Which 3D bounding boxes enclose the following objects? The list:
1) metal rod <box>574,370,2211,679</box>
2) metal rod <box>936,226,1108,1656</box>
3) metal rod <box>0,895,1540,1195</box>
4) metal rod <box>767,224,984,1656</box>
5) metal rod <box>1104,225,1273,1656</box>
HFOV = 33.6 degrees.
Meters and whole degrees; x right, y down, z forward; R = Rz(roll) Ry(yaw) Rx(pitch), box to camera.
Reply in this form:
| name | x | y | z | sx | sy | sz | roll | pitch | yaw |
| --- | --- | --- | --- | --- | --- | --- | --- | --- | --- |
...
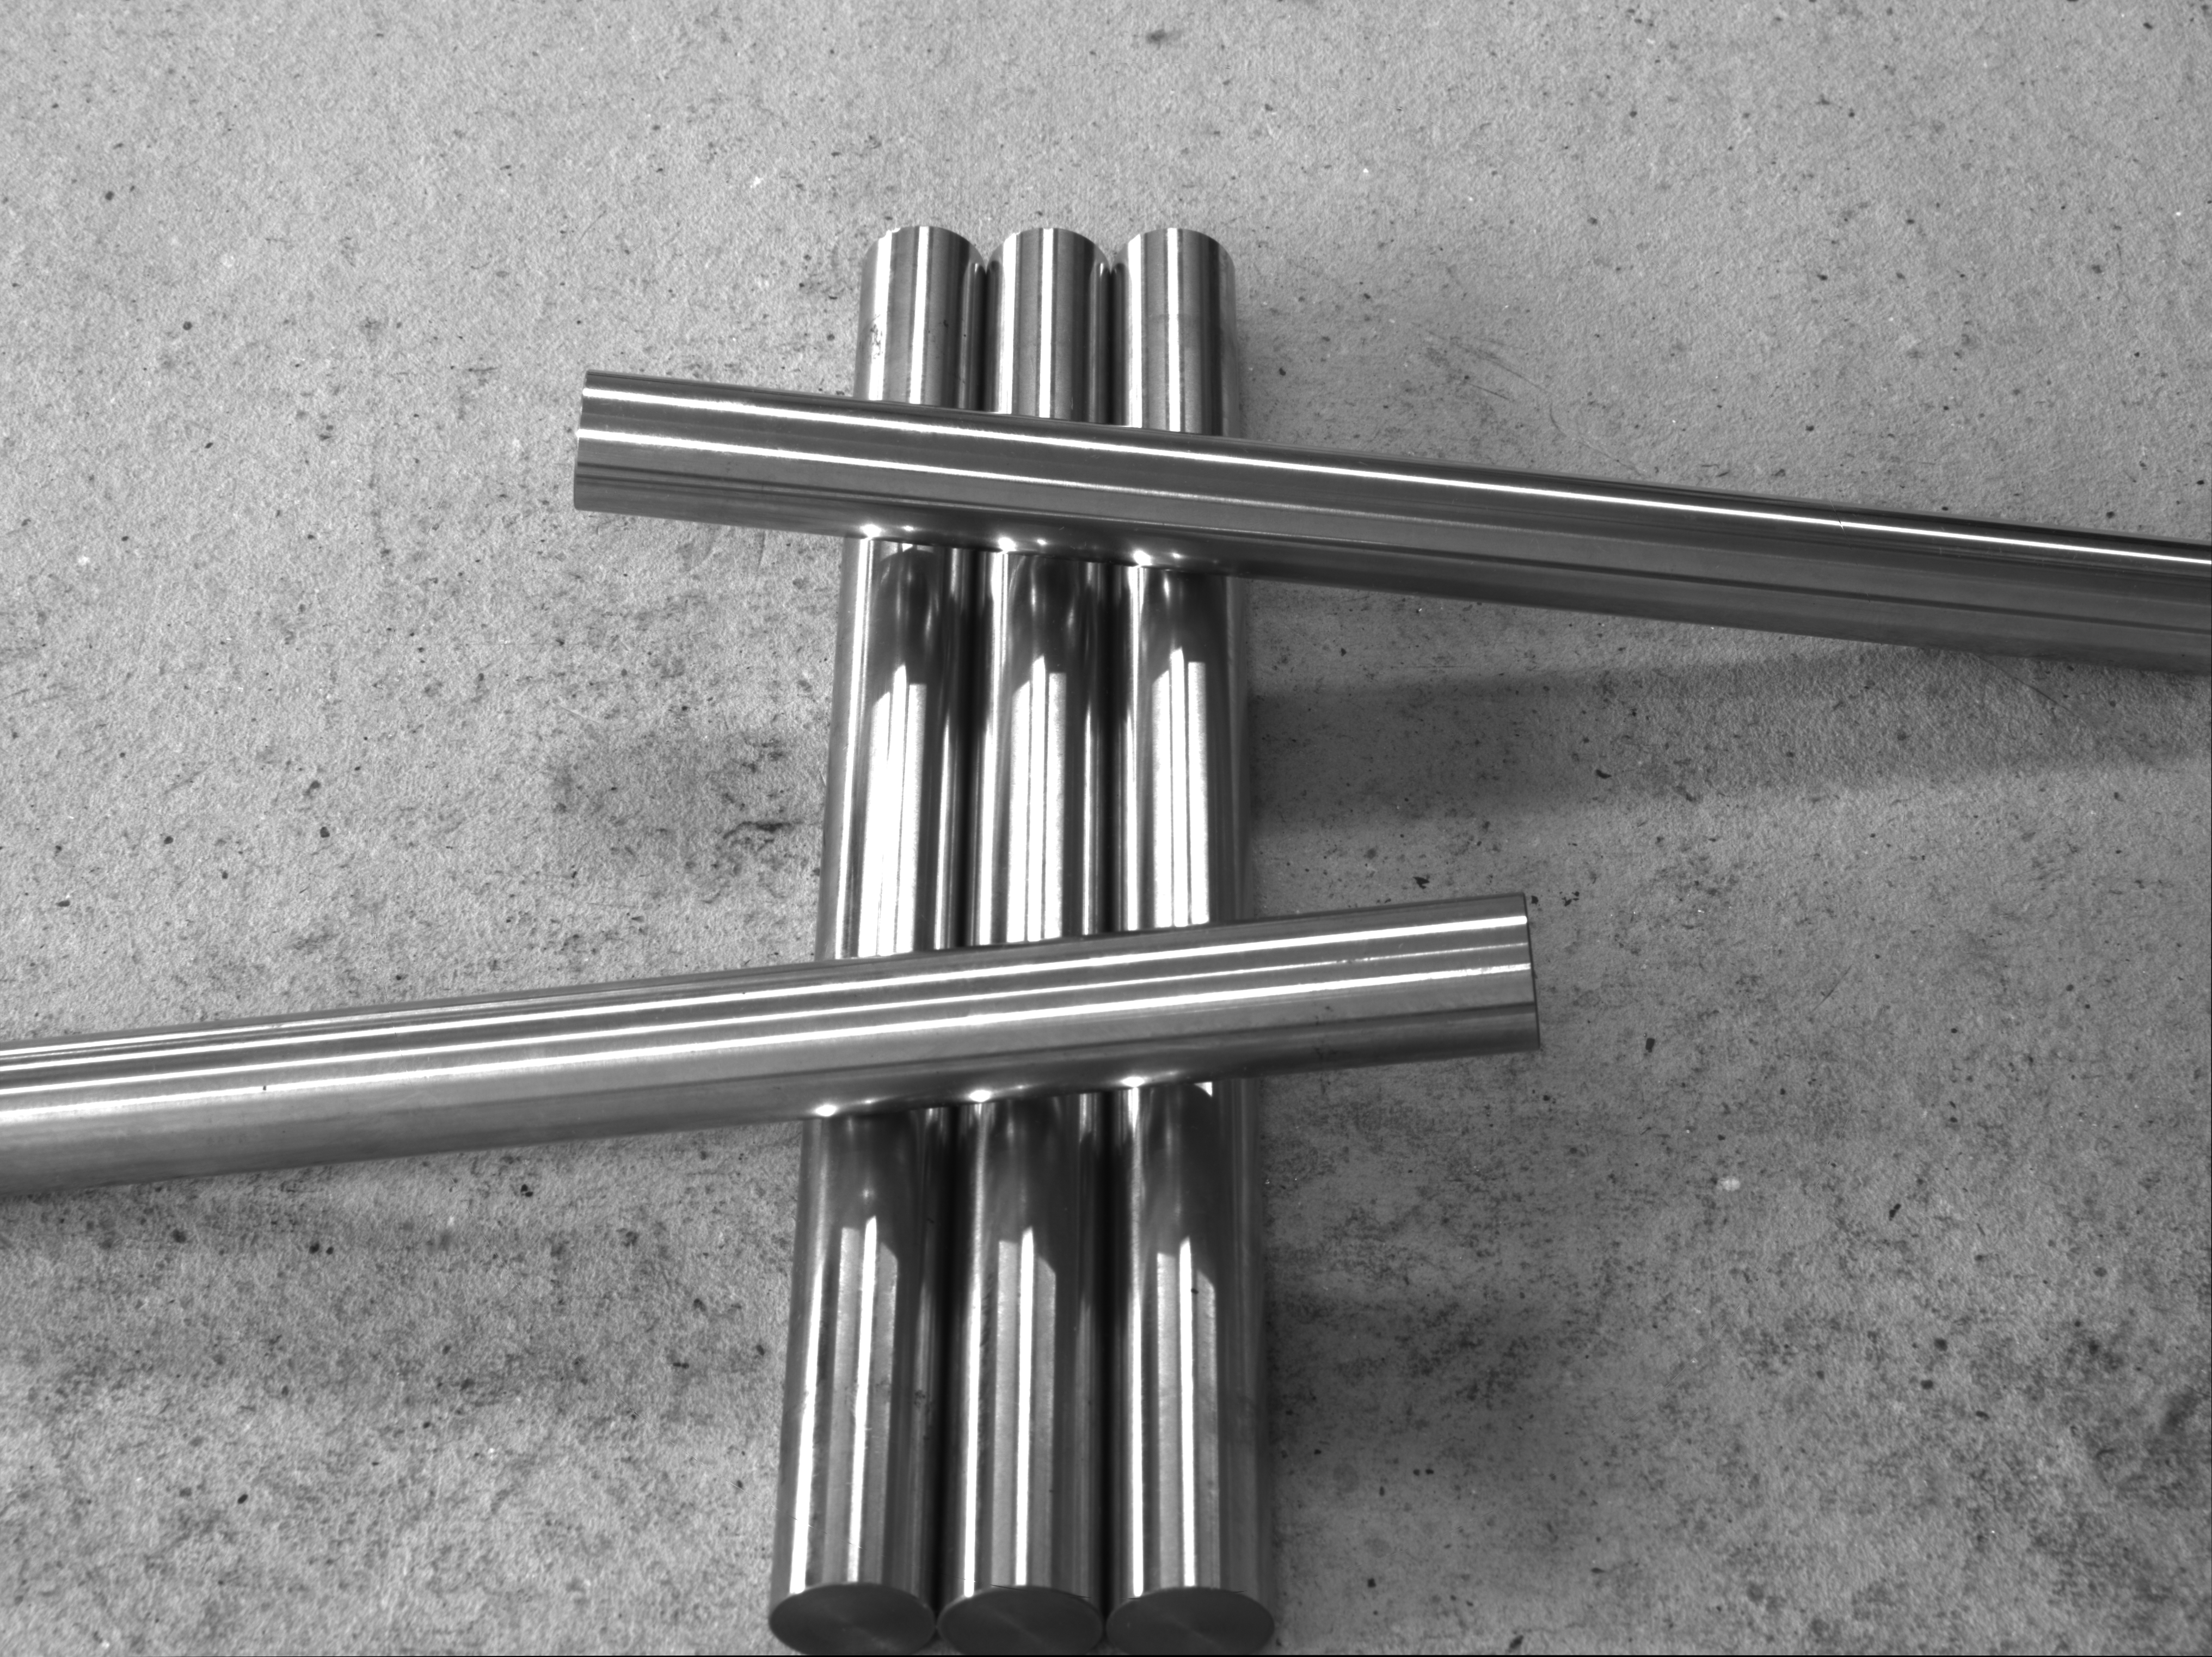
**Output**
| name | x | y | z | sx | sy | sz | roll | pitch | yaw |
| --- | --- | --- | --- | --- | --- | --- | --- | --- | --- |
| metal rod | 0.056 | -0.054 | 0.663 | 0.300 | 0.025 | 0.025 | 6 | 50 | -5 |
| metal rod | -0.012 | 0.003 | 0.638 | 0.025 | 0.025 | 0.300 | 0 | 50 | 0 |
| metal rod | -0.082 | 0.037 | 0.585 | 0.300 | 0.025 | 0.025 | -6 | 50 | 5 |
| metal rod | -0.037 | 0.003 | 0.639 | 0.025 | 0.025 | 0.300 | 0 | 50 | 0 |
| metal rod | 0.013 | 0.003 | 0.639 | 0.025 | 0.025 | 0.300 | 0 | 50 | 0 |
